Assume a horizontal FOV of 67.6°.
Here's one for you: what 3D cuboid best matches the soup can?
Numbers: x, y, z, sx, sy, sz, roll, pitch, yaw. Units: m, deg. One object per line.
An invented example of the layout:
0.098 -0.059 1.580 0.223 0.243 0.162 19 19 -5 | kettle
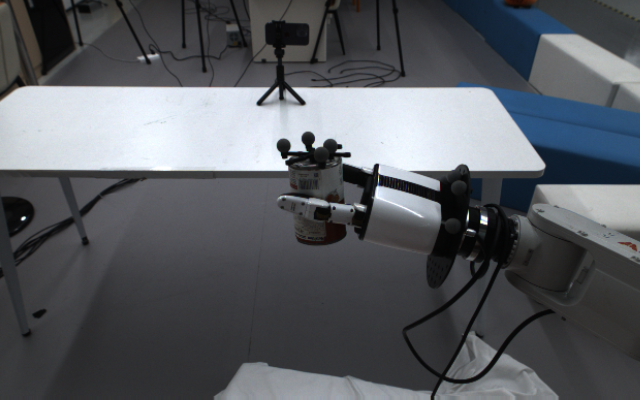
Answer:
-0.002 -0.003 0.604 0.067 0.101 0.067 -4 21 1 | soup can
